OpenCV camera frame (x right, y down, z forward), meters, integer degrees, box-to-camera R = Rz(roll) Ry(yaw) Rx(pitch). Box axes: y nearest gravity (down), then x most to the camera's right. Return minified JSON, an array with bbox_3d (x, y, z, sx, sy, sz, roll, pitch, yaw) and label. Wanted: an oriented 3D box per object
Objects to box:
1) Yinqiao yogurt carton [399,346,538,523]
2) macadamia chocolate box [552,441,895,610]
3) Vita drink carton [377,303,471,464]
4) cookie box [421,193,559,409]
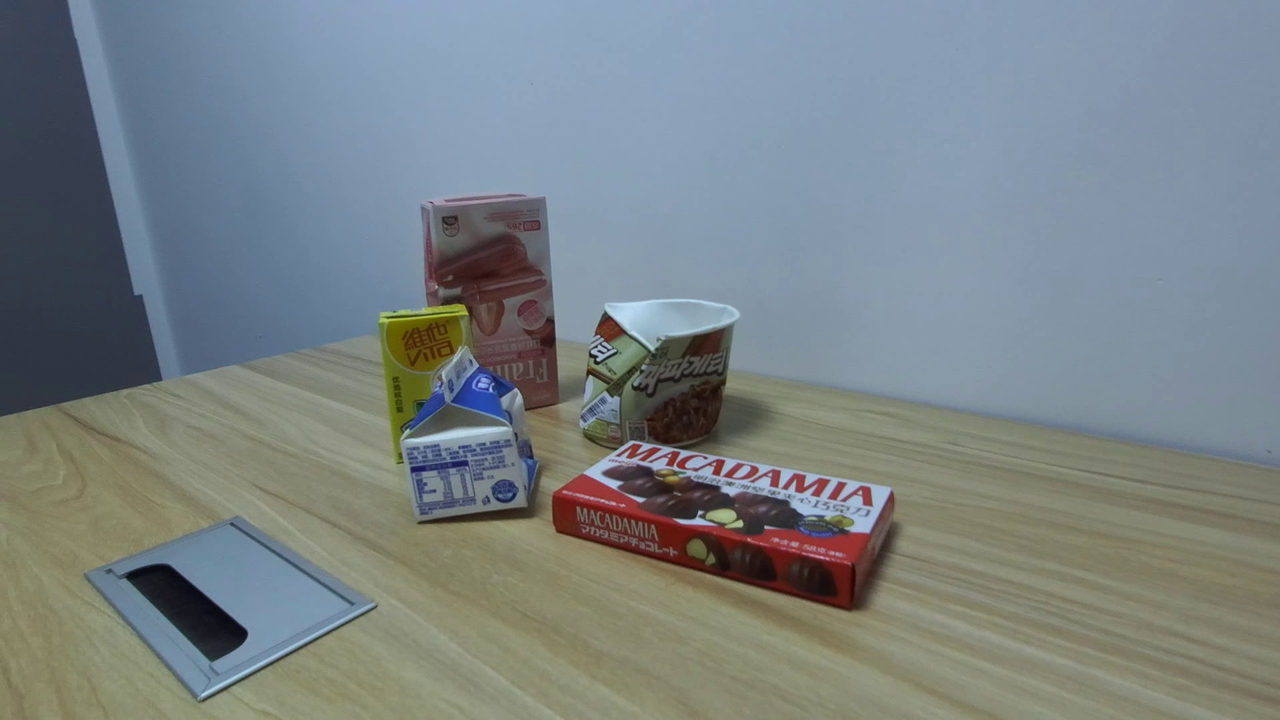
[{"bbox_3d":[-0.110,0.044,0.460,0.071,0.094,0.077,-7,15,1],"label":"Yinqiao yogurt carton"},{"bbox_3d":[0.048,0.088,0.412,0.177,0.027,0.096,7,18,29],"label":"macadamia chocolate box"},{"bbox_3d":[-0.158,0.018,0.534,0.067,0.109,0.043,-7,11,-19],"label":"Vita drink carton"},{"bbox_3d":[-0.131,-0.046,0.613,0.105,0.187,0.048,-10,19,-25],"label":"cookie box"}]
